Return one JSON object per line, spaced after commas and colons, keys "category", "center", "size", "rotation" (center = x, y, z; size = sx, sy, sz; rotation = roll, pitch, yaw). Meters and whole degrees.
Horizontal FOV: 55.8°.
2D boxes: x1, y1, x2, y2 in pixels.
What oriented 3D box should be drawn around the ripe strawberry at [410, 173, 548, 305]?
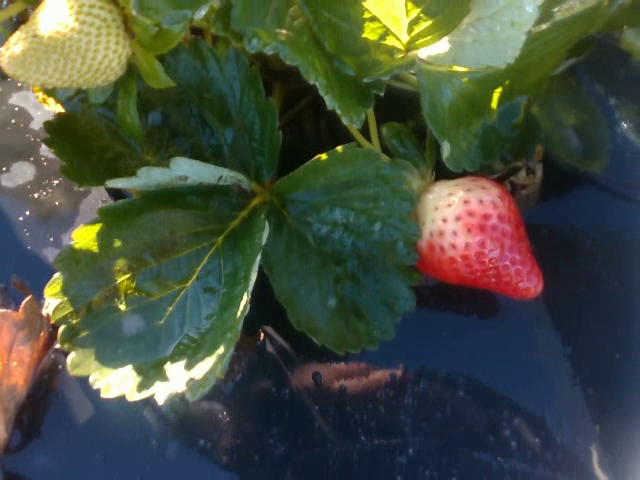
{"category": "ripe strawberry", "center": [0.061, 0.006, 0.227], "size": [0.065, 0.040, 0.040], "rotation": [45, -4, -6]}
